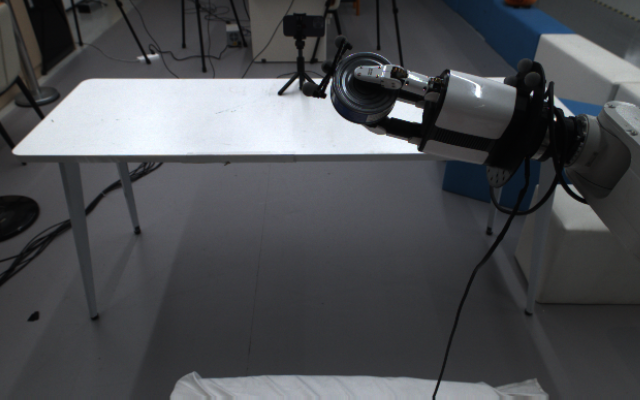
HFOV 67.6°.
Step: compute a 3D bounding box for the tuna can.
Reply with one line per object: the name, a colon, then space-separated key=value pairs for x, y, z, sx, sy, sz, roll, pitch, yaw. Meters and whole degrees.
tuna can: x=0.059 y=-0.143 z=0.612 sx=0.085 sy=0.034 sz=0.085 roll=1 pitch=76 yaw=-5
